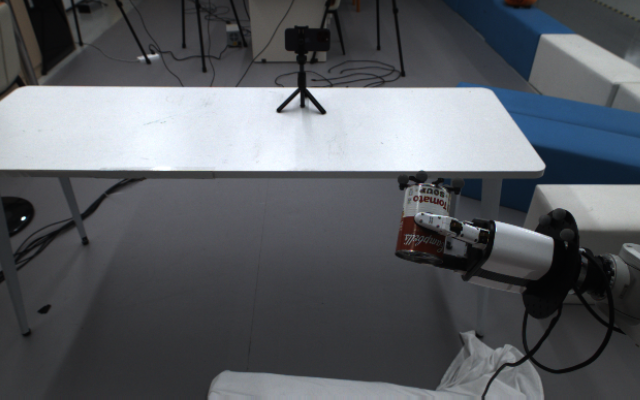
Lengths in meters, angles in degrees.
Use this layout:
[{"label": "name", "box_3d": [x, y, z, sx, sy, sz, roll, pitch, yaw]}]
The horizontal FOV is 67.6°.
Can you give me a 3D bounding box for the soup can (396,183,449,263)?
[{"label": "soup can", "box_3d": [0.150, 0.032, 0.695, 0.067, 0.067, 0.101, 9, 74, 9]}]
